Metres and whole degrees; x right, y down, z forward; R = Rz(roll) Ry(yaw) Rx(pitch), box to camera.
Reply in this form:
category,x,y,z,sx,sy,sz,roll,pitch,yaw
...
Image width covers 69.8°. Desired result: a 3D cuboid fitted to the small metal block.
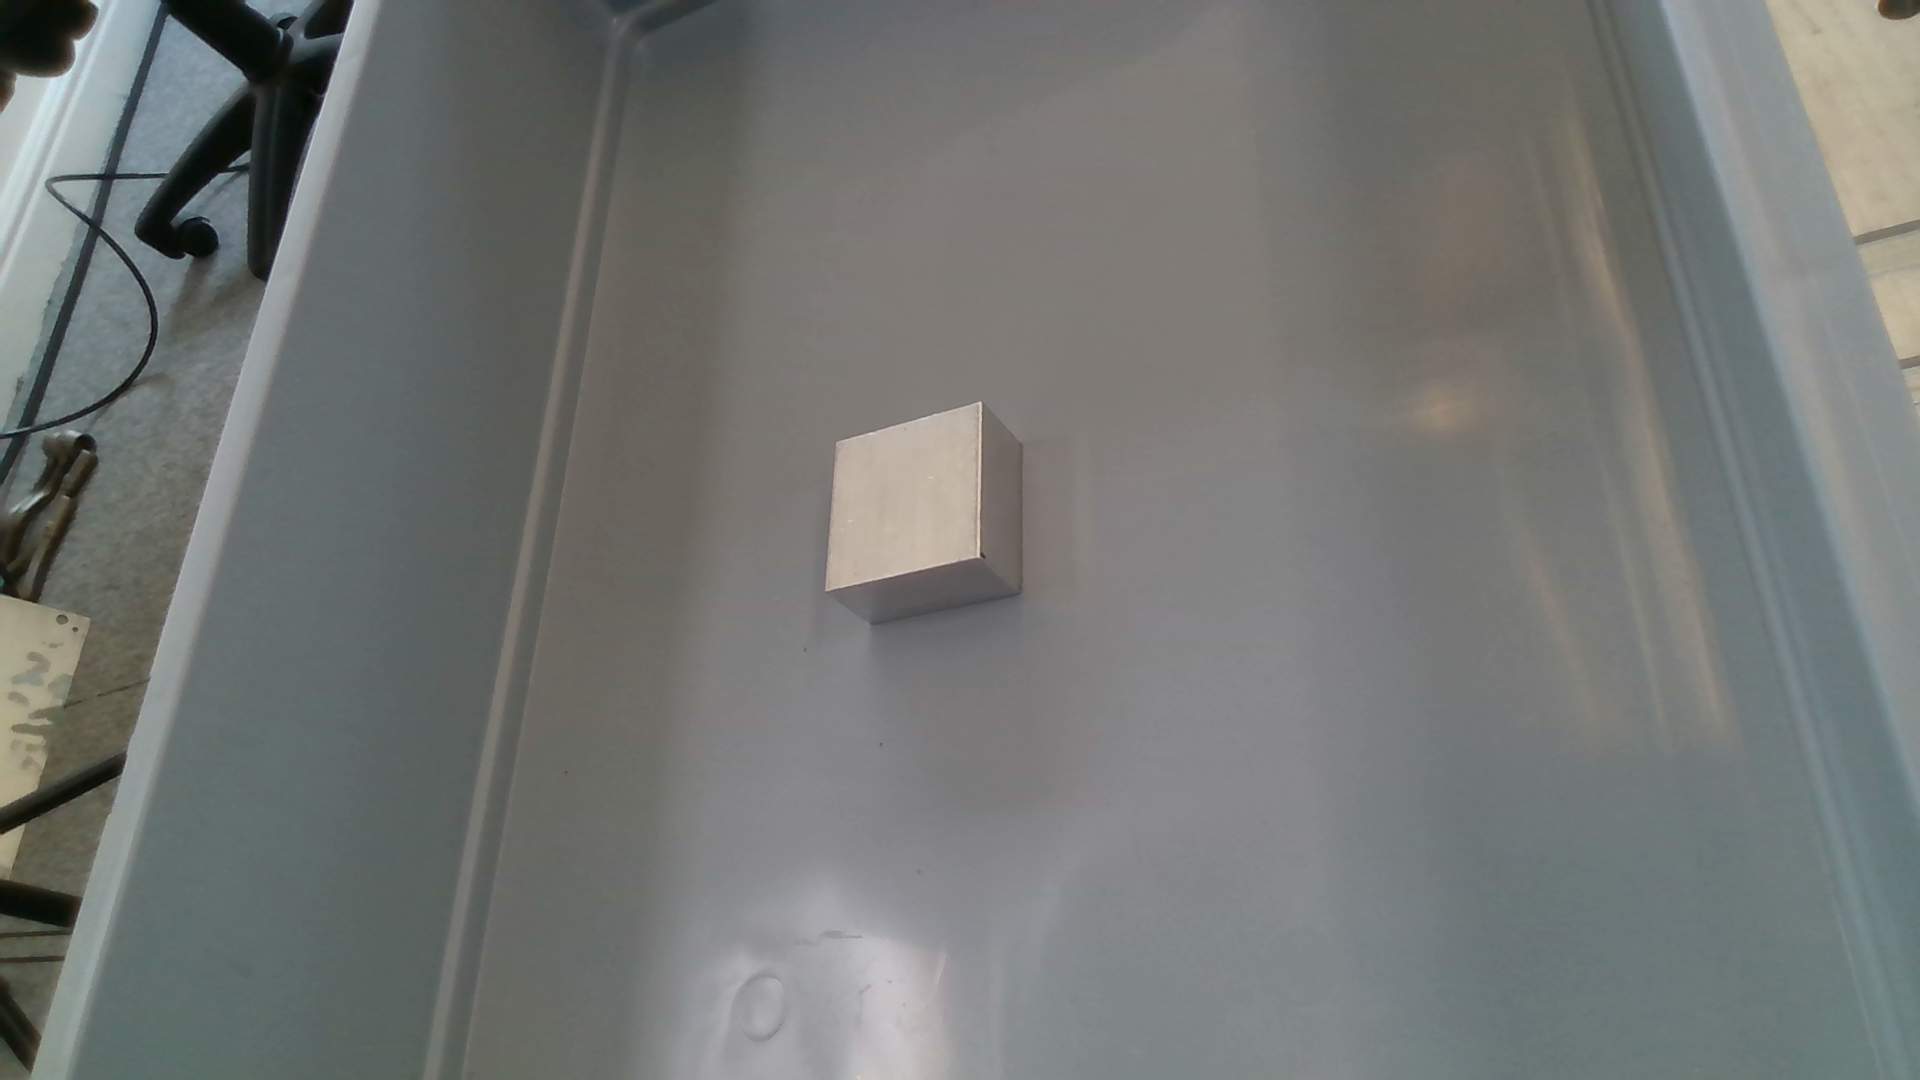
category,x,y,z,sx,sy,sz,roll,pitch,yaw
small metal block,-0.010,-0.007,0.399,0.050,0.025,0.050,-13,59,26
